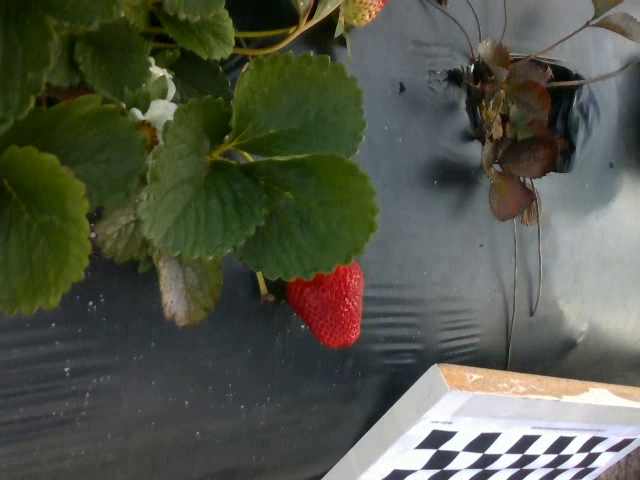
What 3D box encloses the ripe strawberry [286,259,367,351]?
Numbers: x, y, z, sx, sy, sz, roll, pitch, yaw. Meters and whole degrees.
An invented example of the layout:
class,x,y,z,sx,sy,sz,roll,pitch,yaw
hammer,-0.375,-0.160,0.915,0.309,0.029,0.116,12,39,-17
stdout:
class,x,y,z,sx,sy,sz,roll,pitch,yaw
ripe strawberry,0.006,0.032,0.316,0.045,0.055,0.042,-22,-16,2
